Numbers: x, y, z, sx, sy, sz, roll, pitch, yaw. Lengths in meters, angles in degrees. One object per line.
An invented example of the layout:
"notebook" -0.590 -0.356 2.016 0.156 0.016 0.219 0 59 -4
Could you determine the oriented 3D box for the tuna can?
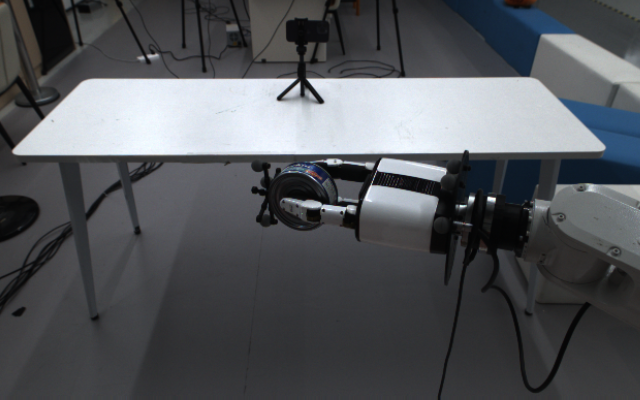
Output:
"tuna can" -0.019 -0.002 0.617 0.085 0.085 0.034 12 28 14
